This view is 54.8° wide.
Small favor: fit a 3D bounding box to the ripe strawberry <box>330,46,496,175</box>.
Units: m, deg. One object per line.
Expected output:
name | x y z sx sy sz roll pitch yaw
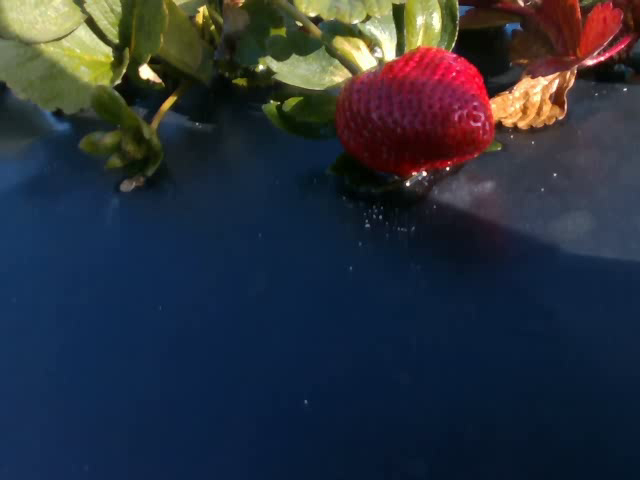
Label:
ripe strawberry | 0.024 -0.030 0.147 0.040 0.041 0.056 -41 20 1
